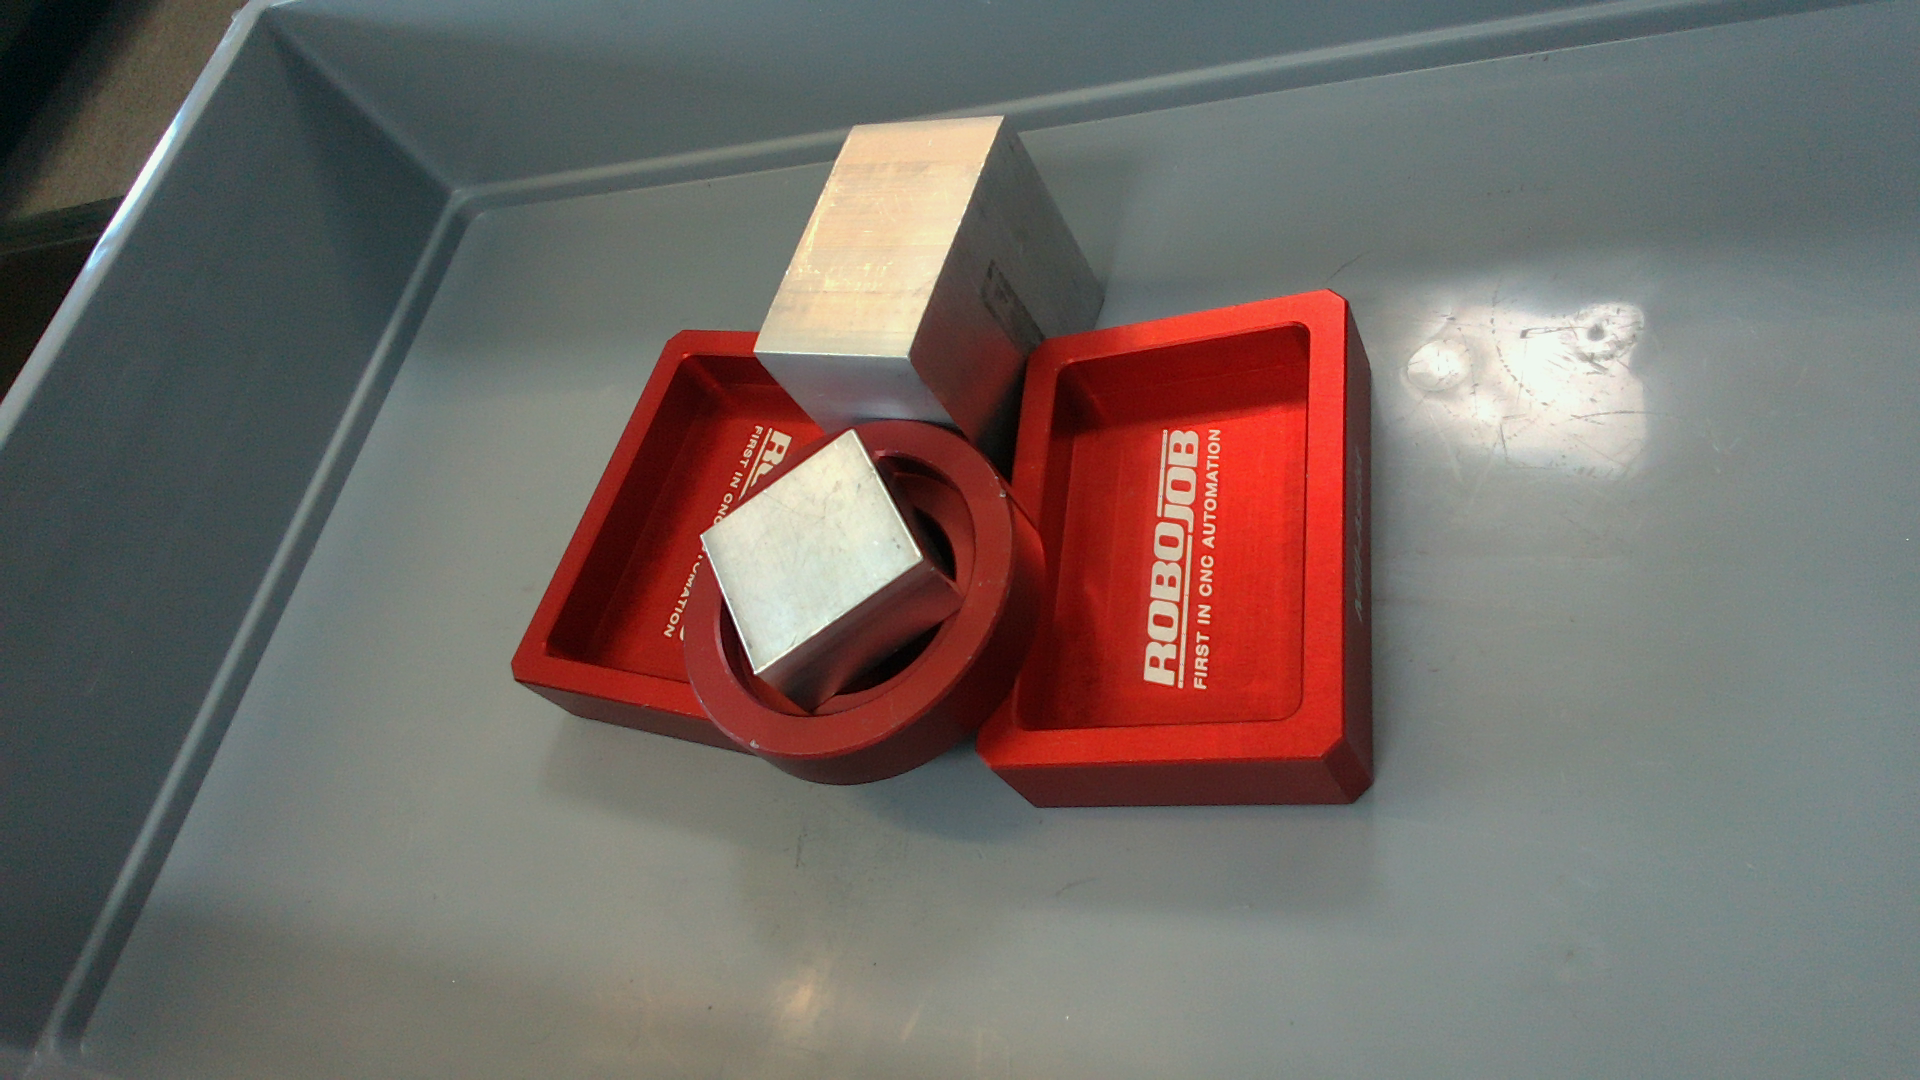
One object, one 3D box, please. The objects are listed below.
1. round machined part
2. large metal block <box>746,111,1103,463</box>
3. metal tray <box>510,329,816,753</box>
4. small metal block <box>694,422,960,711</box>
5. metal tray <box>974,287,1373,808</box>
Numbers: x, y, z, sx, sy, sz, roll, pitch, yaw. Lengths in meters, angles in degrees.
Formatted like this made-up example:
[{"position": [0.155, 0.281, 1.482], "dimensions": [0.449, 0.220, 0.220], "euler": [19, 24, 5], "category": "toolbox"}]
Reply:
[{"position": [-0.022, 0.019, 0.369], "dimensions": [0.098, 0.042, 0.098], "euler": [-13, 56, 21], "category": "round machined part"}, {"position": [-0.006, -0.064, 0.399], "dimensions": [0.050, 0.080, 0.080], "euler": [6, 65, 31], "category": "large metal block"}, {"position": [-0.075, -0.004, 0.431], "dimensions": [0.090, 0.030, 0.130], "euler": [6, 65, 31], "category": "metal tray"}, {"position": [-0.034, 0.006, 0.352], "dimensions": [0.050, 0.025, 0.050], "euler": [-34, 51, 6], "category": "small metal block"}, {"position": [0.057, 0.001, 0.357], "dimensions": [0.090, 0.030, 0.130], "euler": [-6, 59, 25], "category": "metal tray"}]
